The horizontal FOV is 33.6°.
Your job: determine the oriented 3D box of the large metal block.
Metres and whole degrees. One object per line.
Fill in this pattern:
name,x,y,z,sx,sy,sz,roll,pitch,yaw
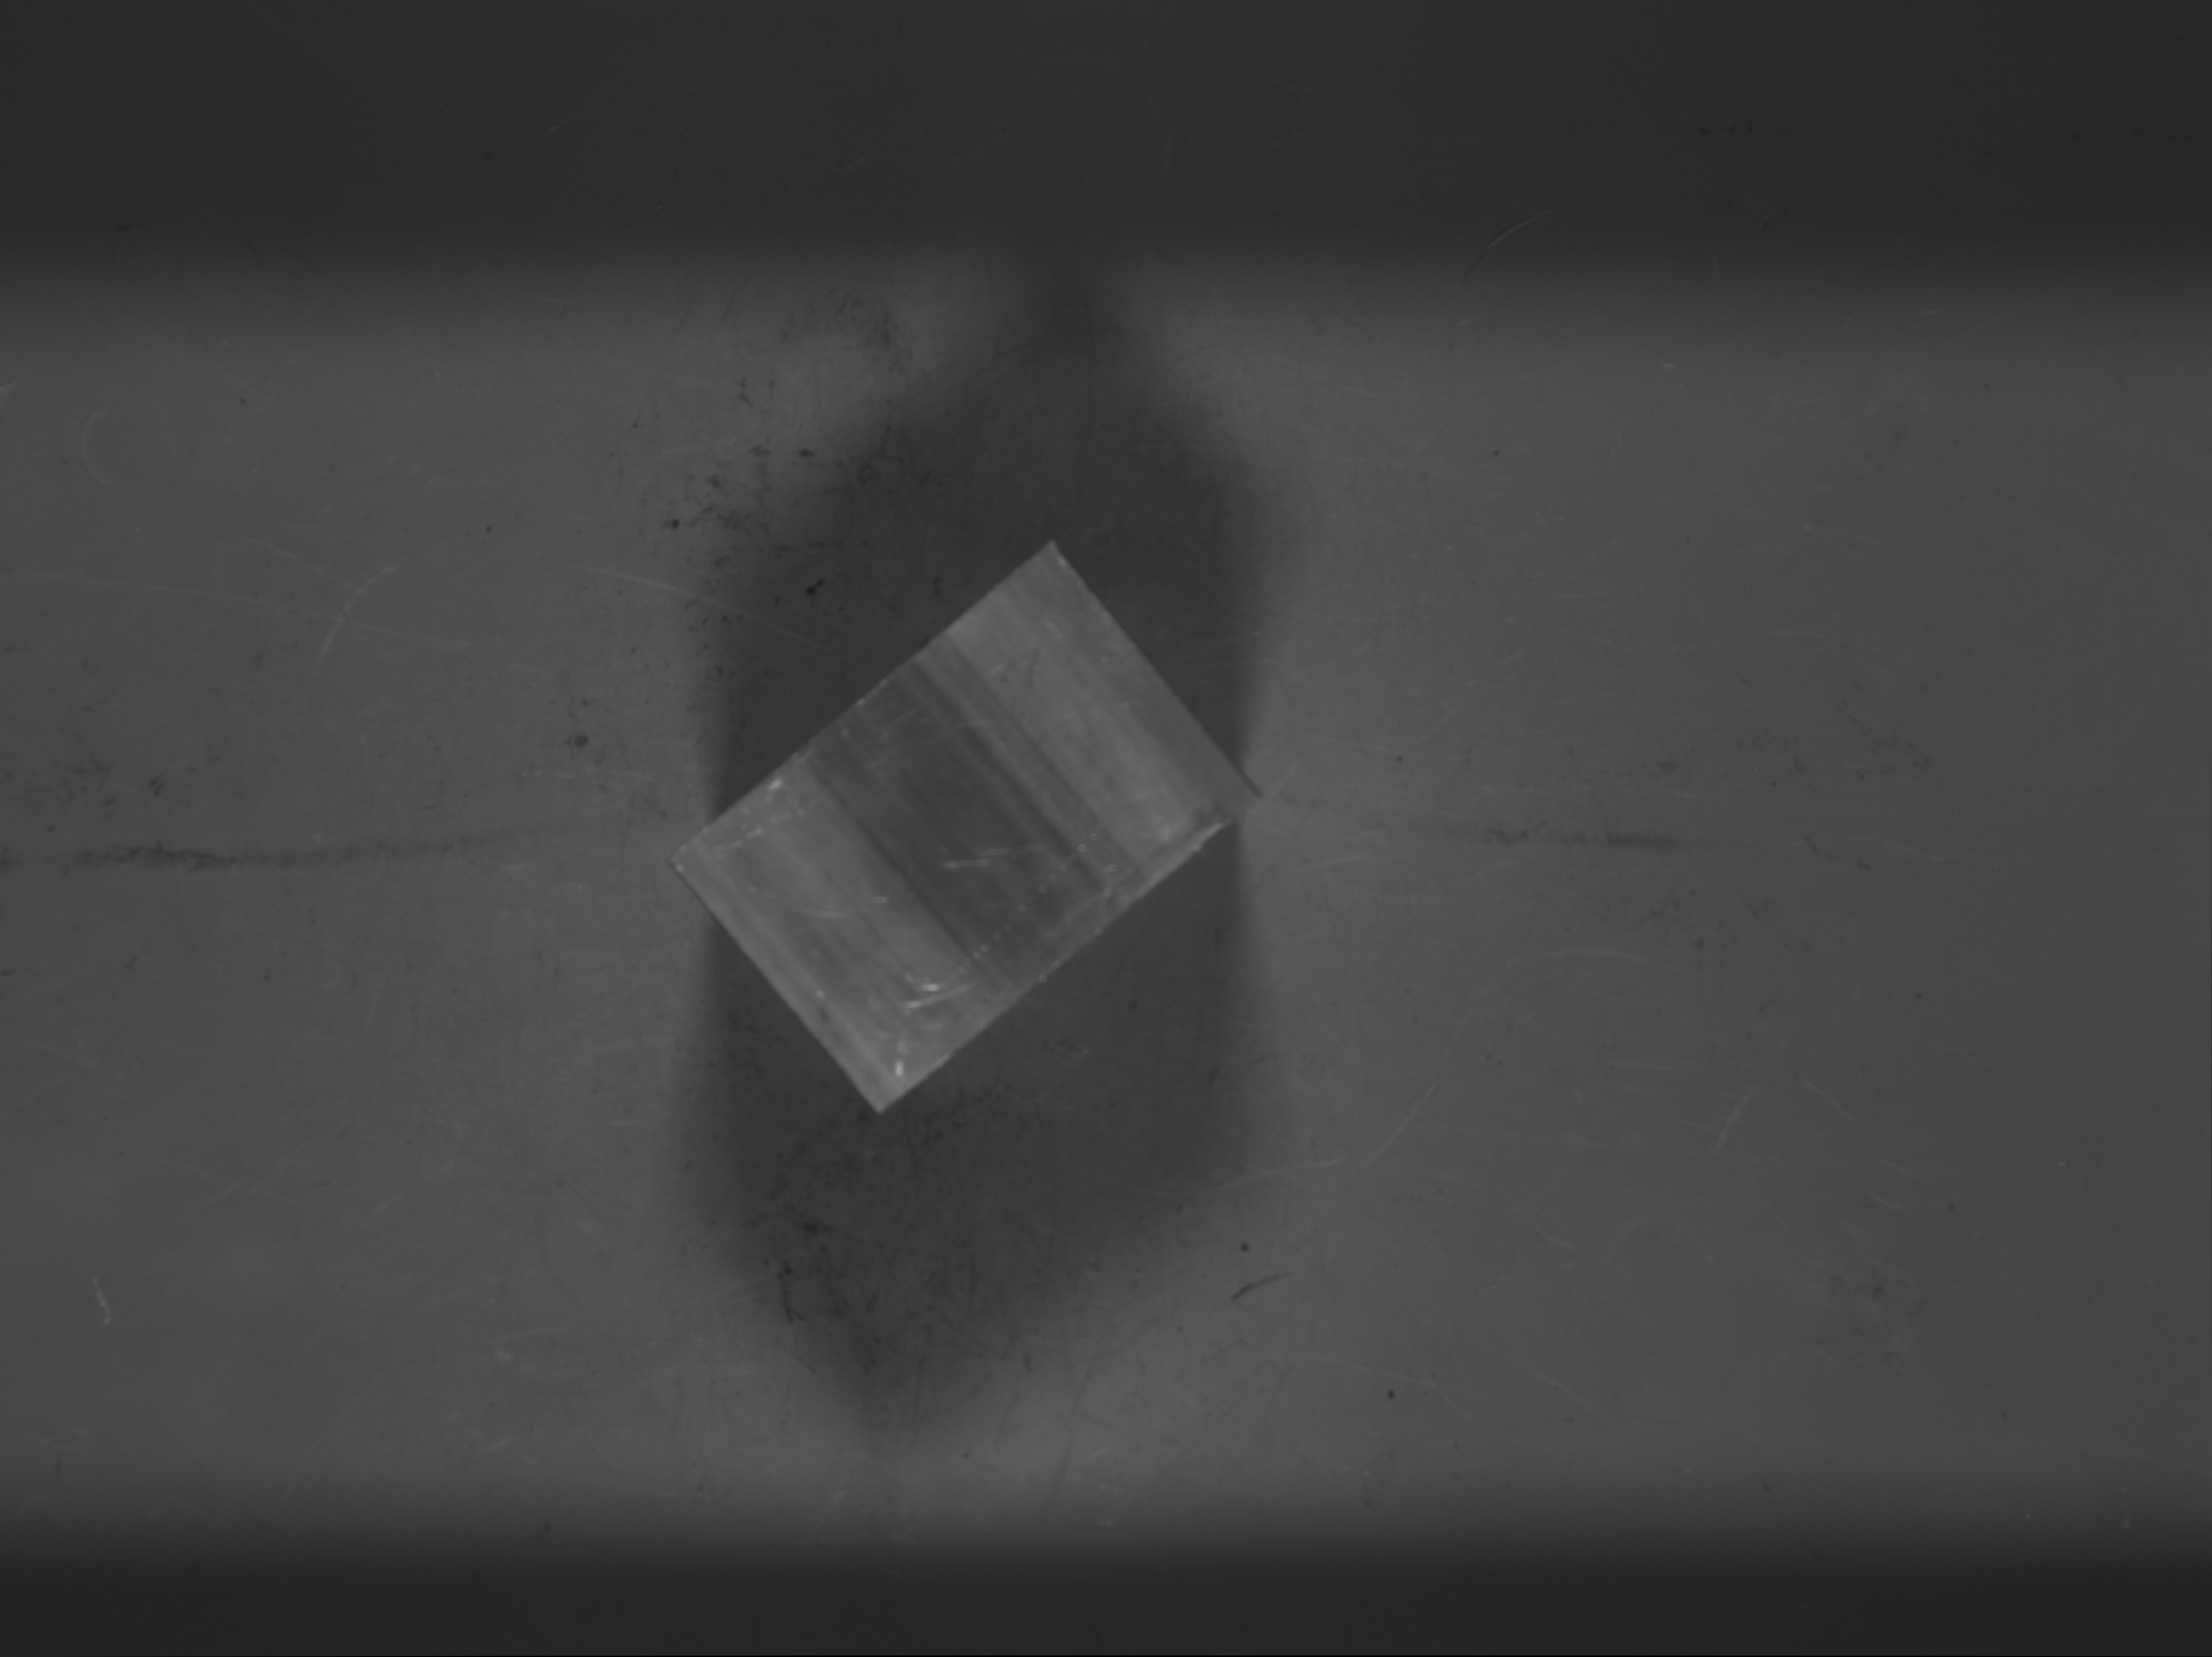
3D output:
large metal block,-0.020,0.000,0.615,0.080,0.080,0.050,-40,90,0
